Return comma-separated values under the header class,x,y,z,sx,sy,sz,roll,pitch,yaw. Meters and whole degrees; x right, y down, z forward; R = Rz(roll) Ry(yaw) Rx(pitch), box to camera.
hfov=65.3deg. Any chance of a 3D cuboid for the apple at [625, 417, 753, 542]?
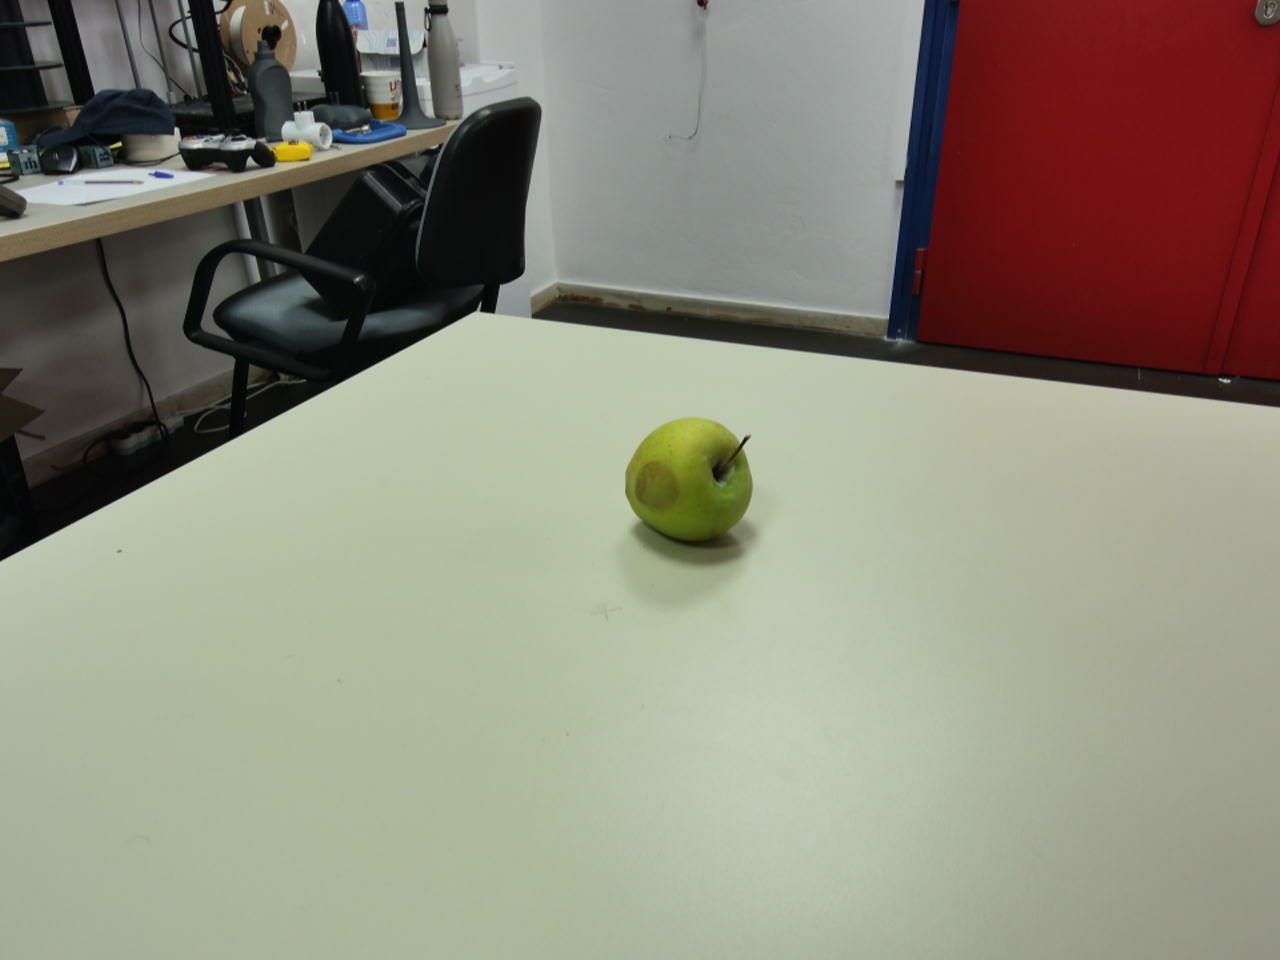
class,x,y,z,sx,sy,sz,roll,pitch,yaw
apple,0.030,-0.002,0.607,0.072,0.075,0.077,-10,27,-20
